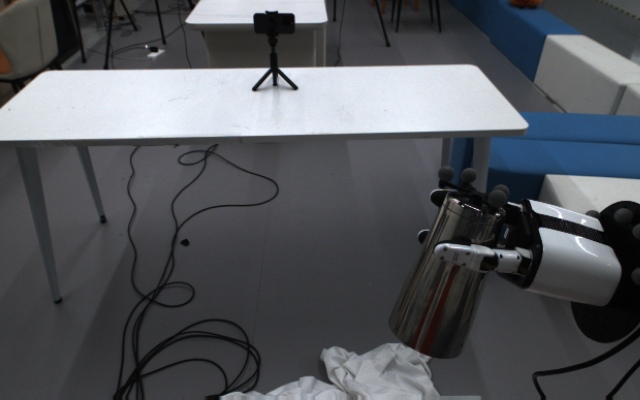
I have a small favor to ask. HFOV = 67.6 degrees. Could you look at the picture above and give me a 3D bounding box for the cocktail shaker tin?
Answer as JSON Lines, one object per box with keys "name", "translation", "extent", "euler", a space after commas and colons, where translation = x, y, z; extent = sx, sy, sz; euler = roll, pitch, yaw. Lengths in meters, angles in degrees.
{"name": "cocktail shaker tin", "translation": [0.150, 0.078, 0.551], "extent": [0.093, 0.170, 0.093], "euler": [14, 18, -5]}
